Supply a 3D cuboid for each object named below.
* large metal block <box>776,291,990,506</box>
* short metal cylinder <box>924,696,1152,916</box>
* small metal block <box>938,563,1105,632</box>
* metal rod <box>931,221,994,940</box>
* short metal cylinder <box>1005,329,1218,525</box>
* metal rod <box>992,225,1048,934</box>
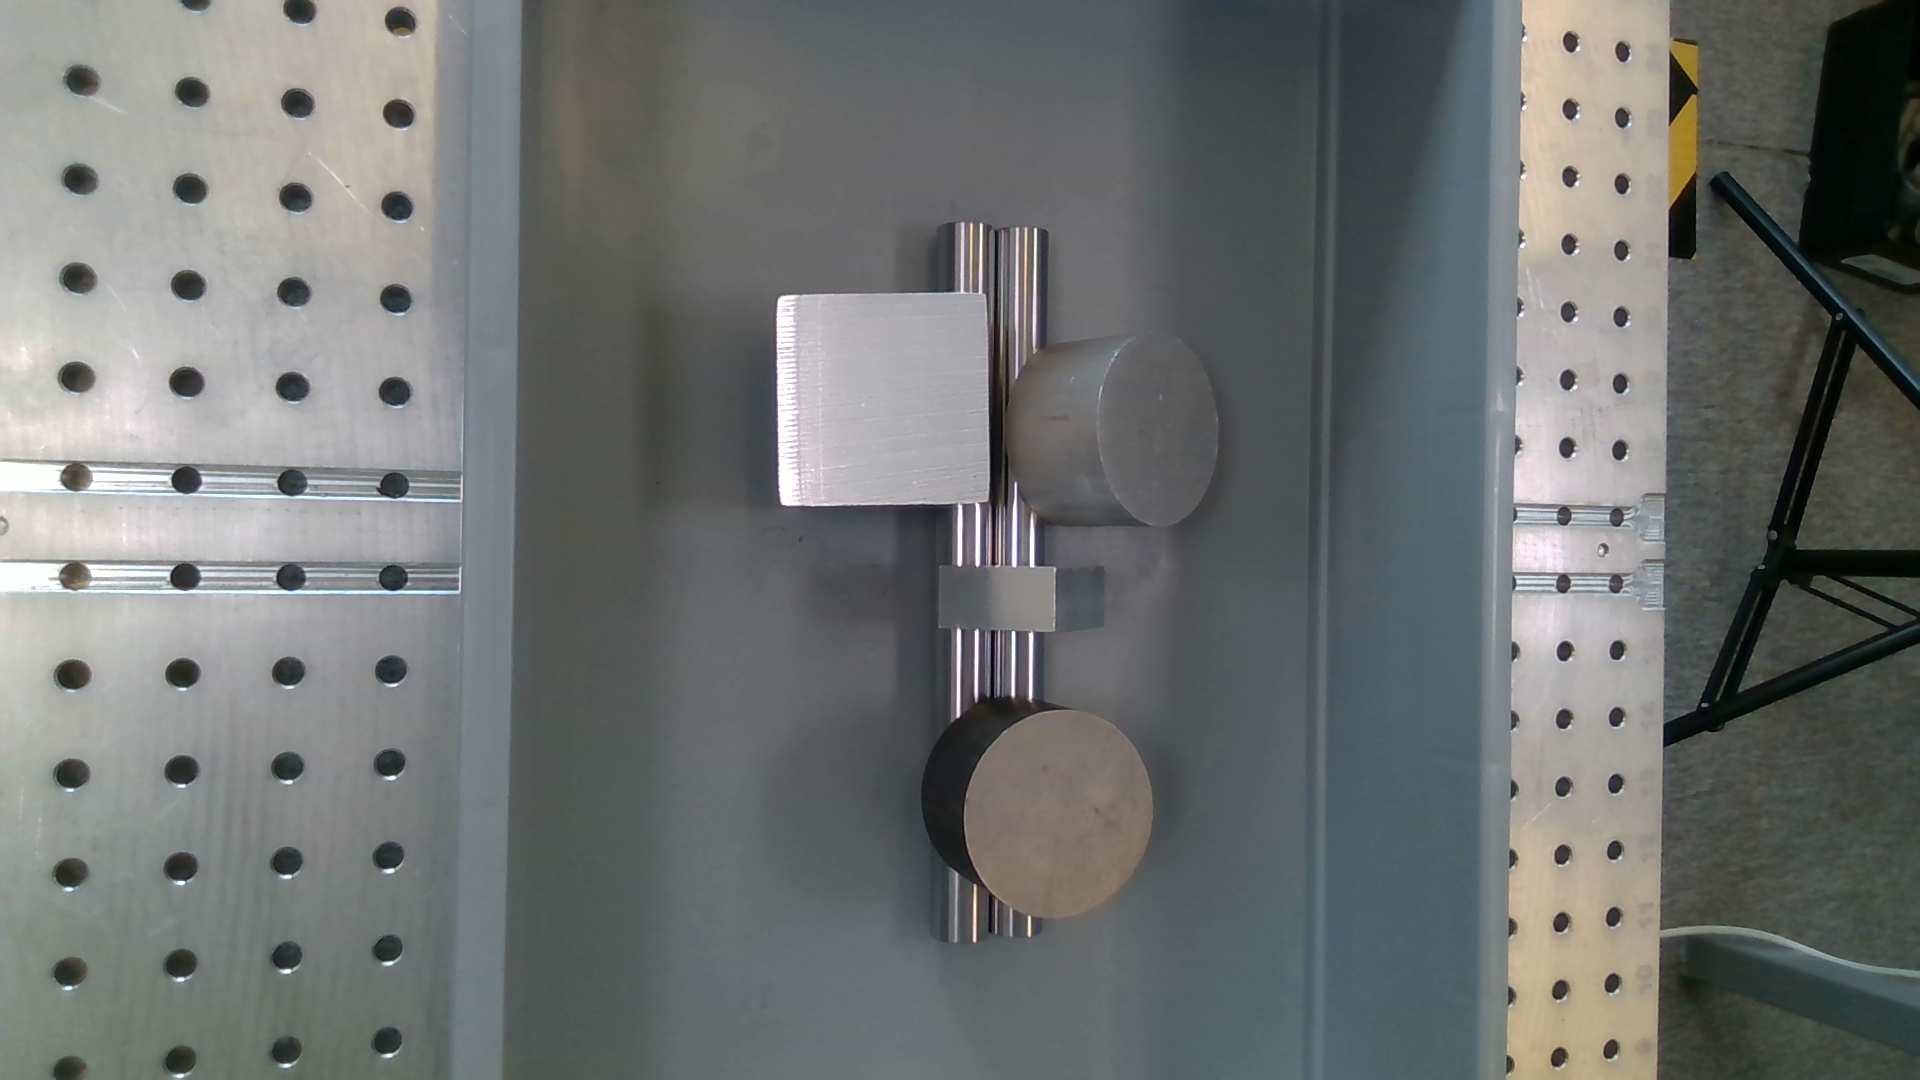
[{"bbox_3d":[-0.029,-0.054,0.546,0.080,0.050,0.080,-1,91,0],"label":"large metal block"},{"bbox_3d":[0.030,0.106,0.557,0.080,0.050,0.080,0,90,-20],"label":"short metal cylinder"},{"bbox_3d":[0.025,0.022,0.551,0.050,0.050,0.025,1,90,-62],"label":"small metal block"},{"bbox_3d":[0.001,0.017,0.586,0.025,0.025,0.300,0,90,-20],"label":"metal rod"},{"bbox_3d":[0.065,-0.046,0.580,0.080,0.050,0.080,-1,91,-44],"label":"short metal cylinder"},{"bbox_3d":[0.024,0.017,0.595,0.025,0.025,0.300,0,90,-20],"label":"metal rod"}]
